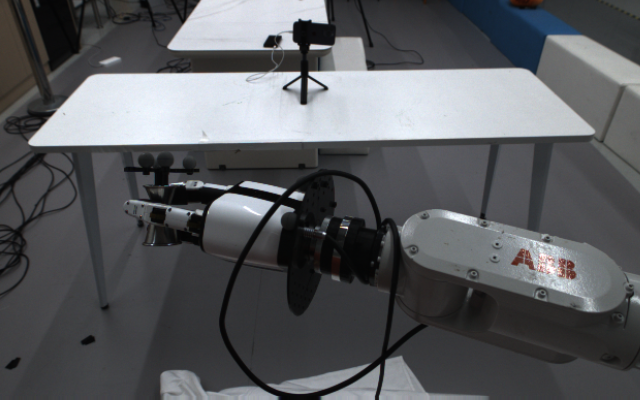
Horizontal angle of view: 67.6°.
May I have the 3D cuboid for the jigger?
[{"bbox_3d":[-0.181,0.017,0.560,0.043,0.071,0.043,0,3,0],"label":"jigger"}]
